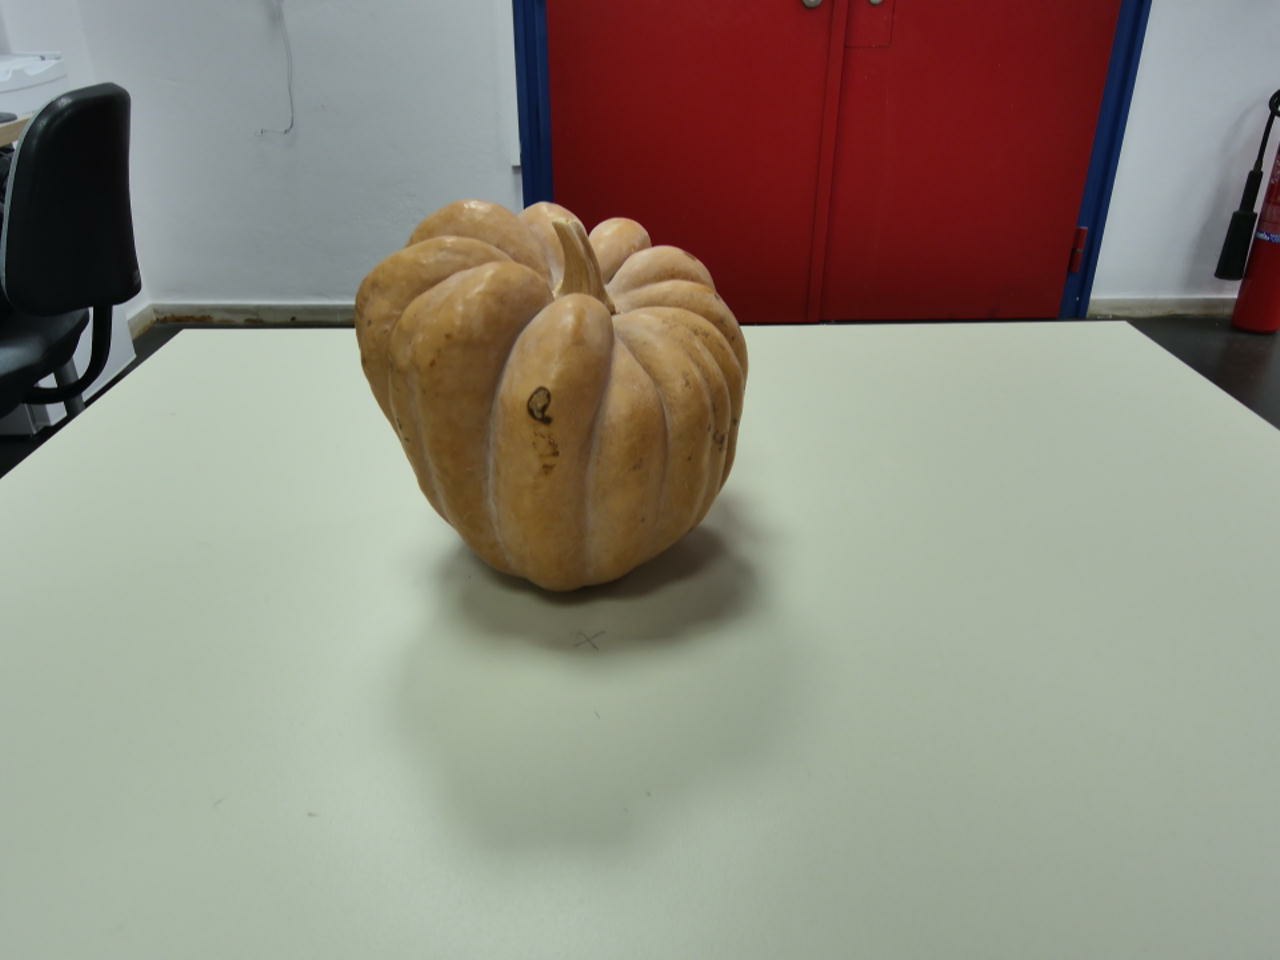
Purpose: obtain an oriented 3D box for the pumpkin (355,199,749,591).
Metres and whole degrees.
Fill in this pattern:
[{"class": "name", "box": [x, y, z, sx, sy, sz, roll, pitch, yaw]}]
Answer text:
[{"class": "pumpkin", "box": [-0.040, -0.043, 0.495, 0.199, 0.177, 0.198, 0, 26, 0]}]
